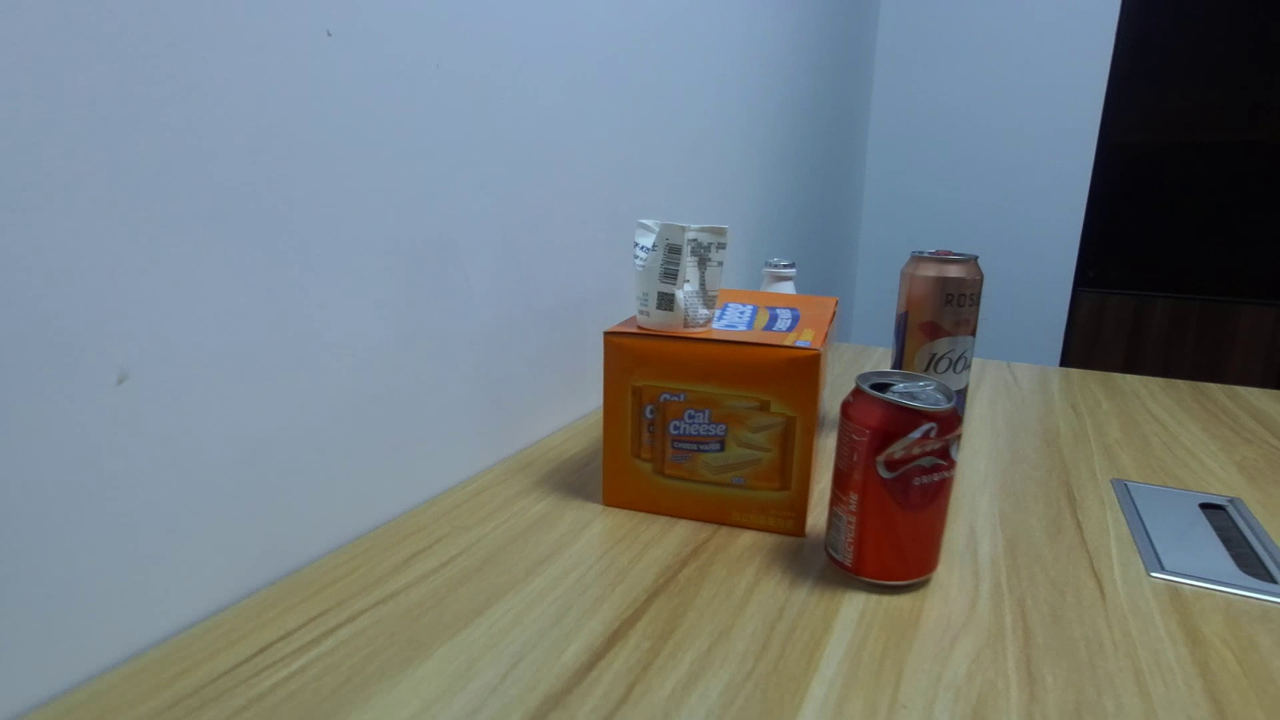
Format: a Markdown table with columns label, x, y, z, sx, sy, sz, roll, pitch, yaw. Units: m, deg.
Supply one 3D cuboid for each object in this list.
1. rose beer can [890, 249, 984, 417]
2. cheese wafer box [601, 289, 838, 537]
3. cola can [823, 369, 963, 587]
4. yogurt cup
| label | x | y | z | sx | sy | sz | roll | pitch | yaw |
| --- | --- | --- | --- | --- | --- | --- | --- | --- | --- |
| rose beer can | 0.255 | -0.005 | 0.619 | 0.068 | 0.169 | 0.068 | 3 | 8 | 0 |
| cheese wafer box | 0.074 | 0.024 | 0.562 | 0.148 | 0.129 | 0.222 | 6 | 15 | 17 |
| cola can | 0.147 | 0.067 | 0.414 | 0.072 | 0.117 | 0.065 | -5 | 16 | -21 |
| yogurt cup | 0.024 | -0.058 | 0.478 | 0.055 | 0.072 | 0.054 | -6 | 17 | -26 |
